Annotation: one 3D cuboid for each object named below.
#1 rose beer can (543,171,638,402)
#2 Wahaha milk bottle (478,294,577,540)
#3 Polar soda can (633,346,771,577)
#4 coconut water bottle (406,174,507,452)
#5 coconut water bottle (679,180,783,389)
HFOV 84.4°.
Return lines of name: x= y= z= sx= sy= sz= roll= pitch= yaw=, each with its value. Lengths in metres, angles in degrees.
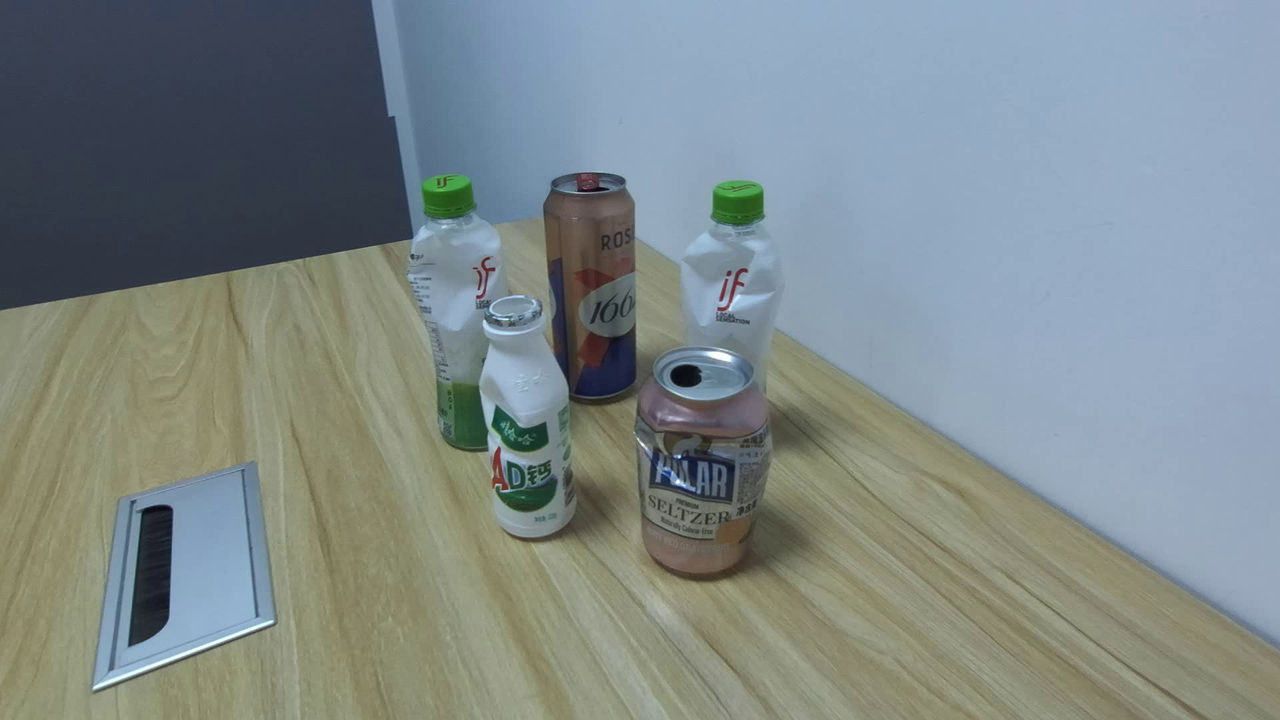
rose beer can: x=-0.036 y=-0.052 z=0.545 sx=0.068 sy=0.169 sz=0.068 roll=1 pitch=28 yaw=0
Wahaha milk bottle: x=-0.067 y=0.034 z=0.413 sx=0.056 sy=0.148 sz=0.056 roll=0 pitch=32 yaw=0
Polar soda can: x=0.032 y=0.057 z=0.397 sx=0.067 sy=0.122 sz=0.074 roll=-18 pitch=35 yaw=-27
coconut water bottle: x=-0.117 y=-0.030 z=0.484 sx=0.069 sy=0.187 sz=0.069 roll=1 pitch=28 yaw=0
coconut water bottle: x=0.059 y=-0.021 z=0.463 sx=0.067 sy=0.187 sz=0.067 roll=-1 pitch=29 yaw=1
